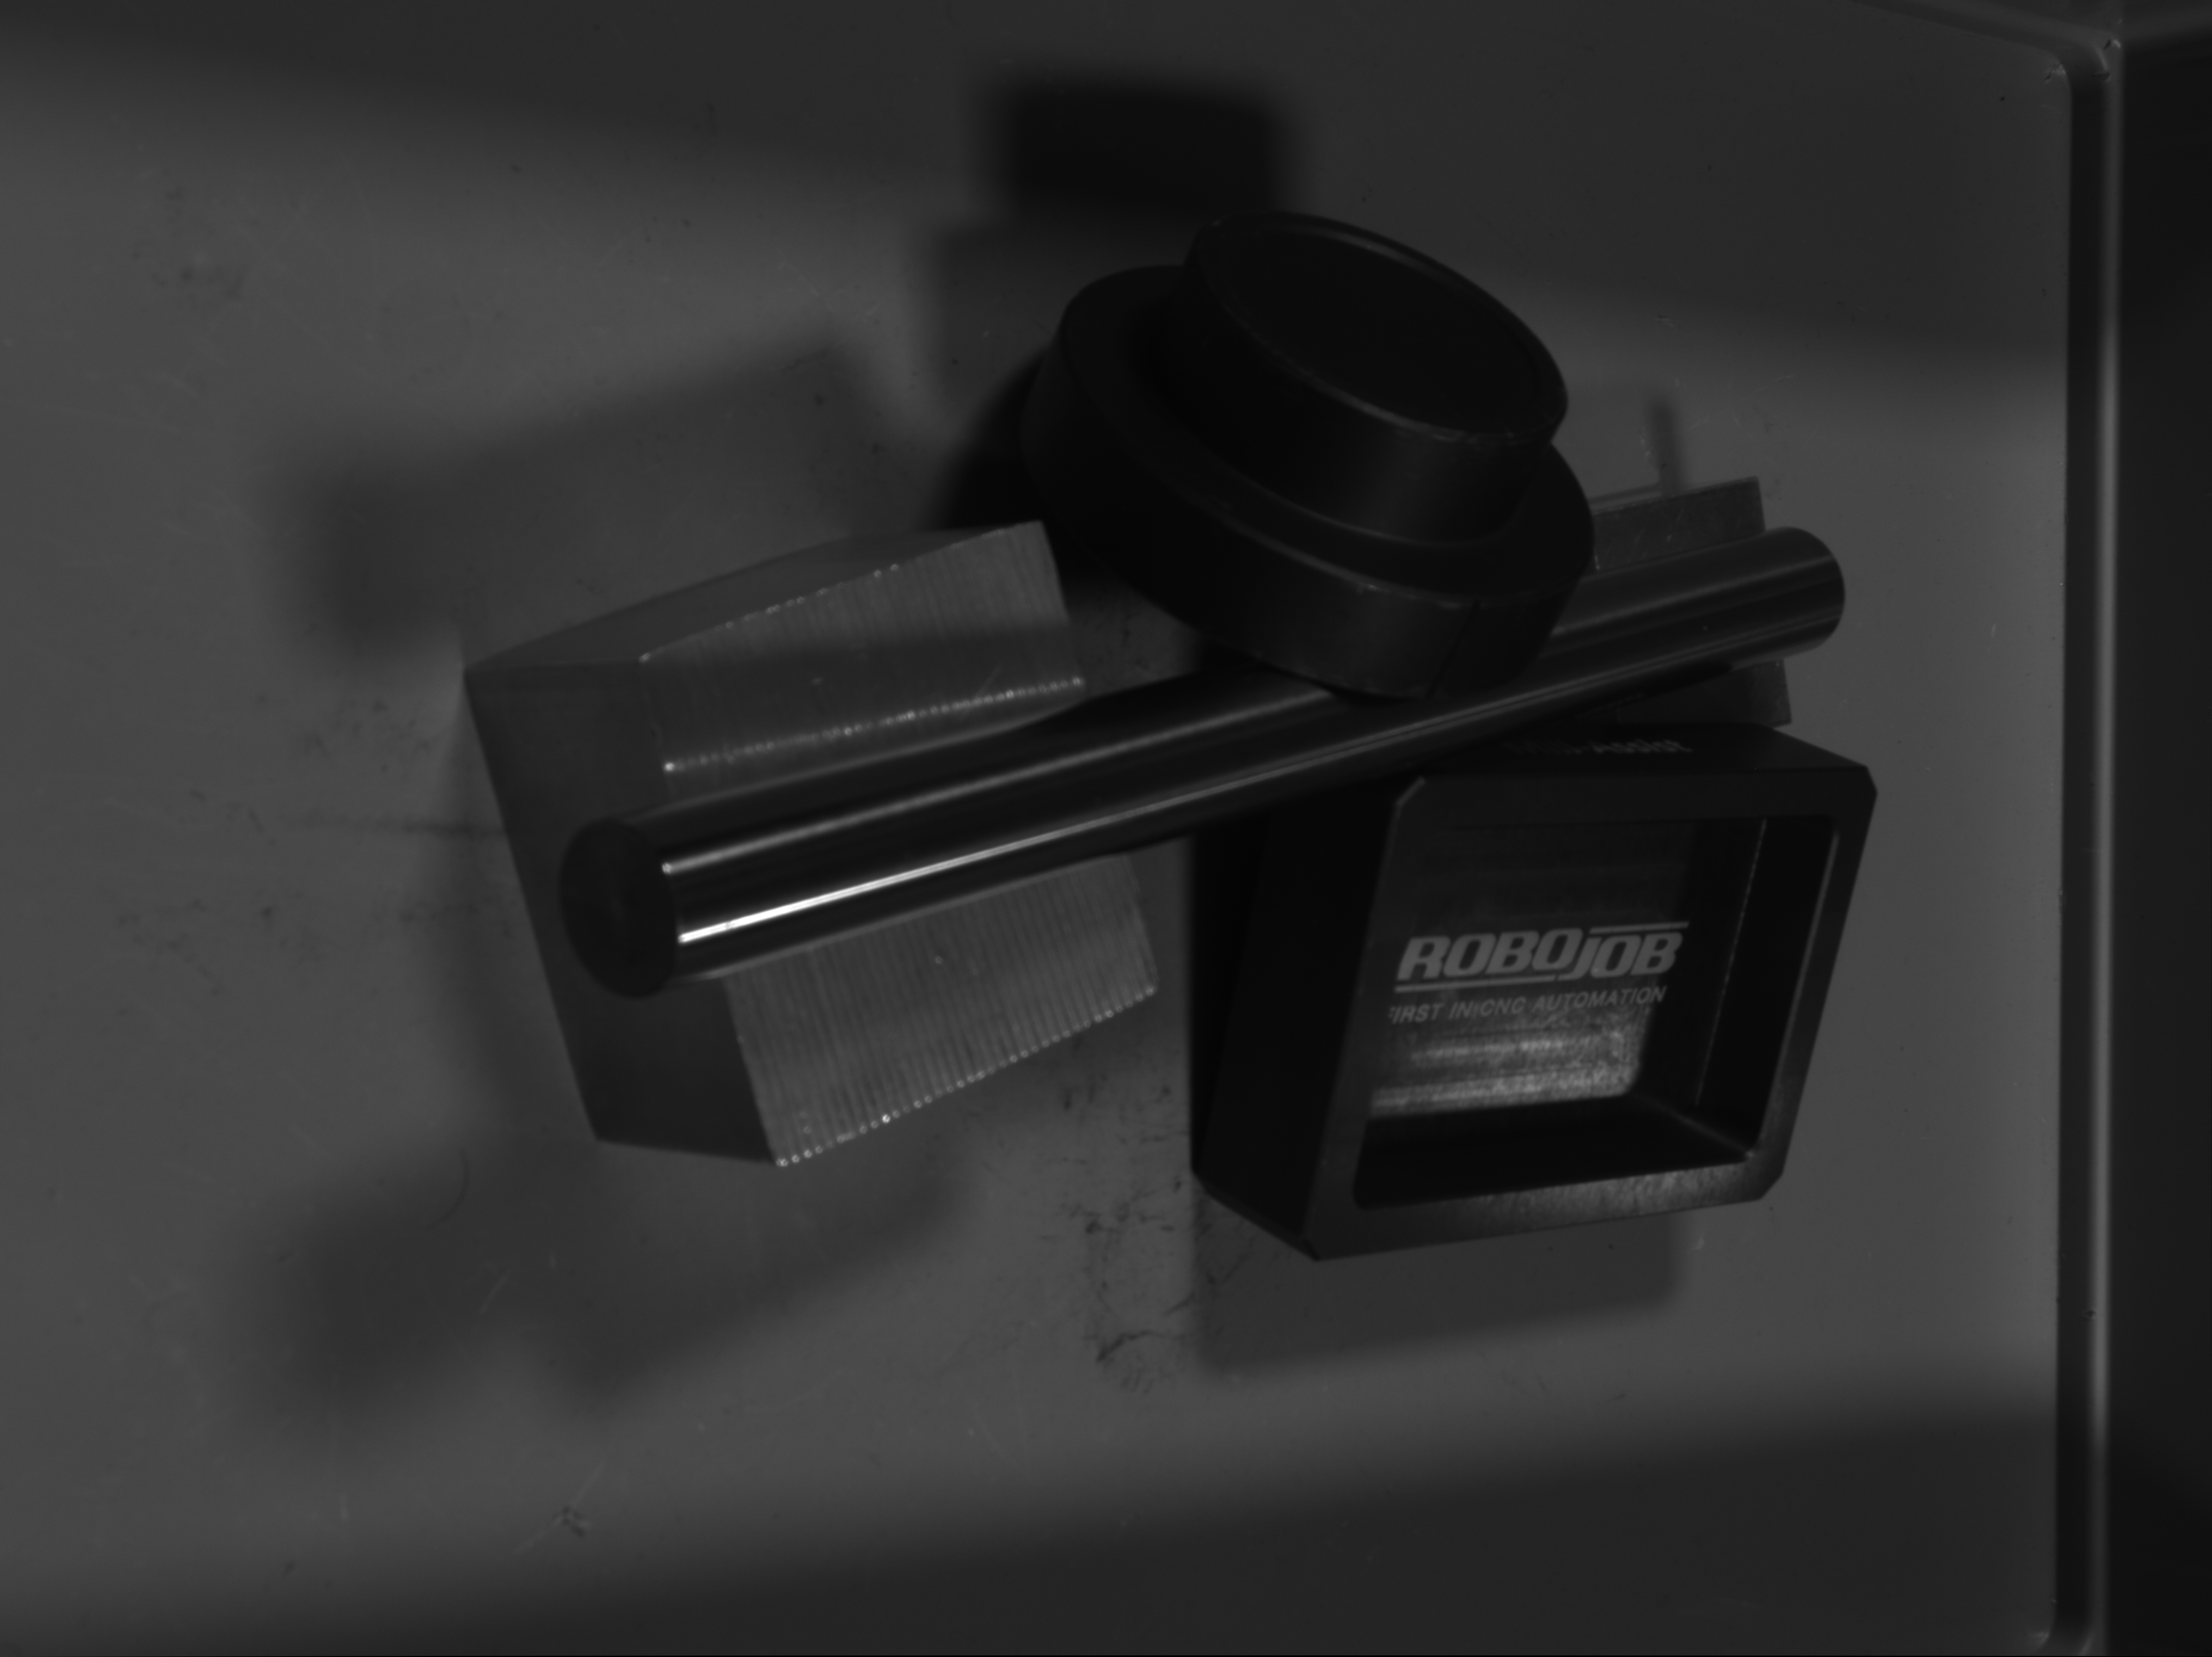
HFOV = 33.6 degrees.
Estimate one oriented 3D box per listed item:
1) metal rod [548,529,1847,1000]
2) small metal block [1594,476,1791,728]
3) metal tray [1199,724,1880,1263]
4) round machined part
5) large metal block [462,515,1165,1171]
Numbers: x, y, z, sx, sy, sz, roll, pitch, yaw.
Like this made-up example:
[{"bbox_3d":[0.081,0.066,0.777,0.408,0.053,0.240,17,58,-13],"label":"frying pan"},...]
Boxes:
[{"bbox_3d":[0.033,-0.017,0.605,0.301,0.025,0.025,-16,100,-46],"label":"metal rod"},{"bbox_3d":[0.107,-0.041,0.724,0.050,0.025,0.050,-15,99,-39],"label":"small metal block"},{"bbox_3d":[0.083,0.028,0.683,0.130,0.030,0.090,-2,111,-40],"label":"metal tray"},{"bbox_3d":[0.038,-0.068,0.618,0.098,0.098,0.042,-6,134,-40],"label":"round machined part"},{"bbox_3d":[-0.045,0.001,0.581,0.080,0.050,0.080,-23,104,-38],"label":"large metal block"}]
